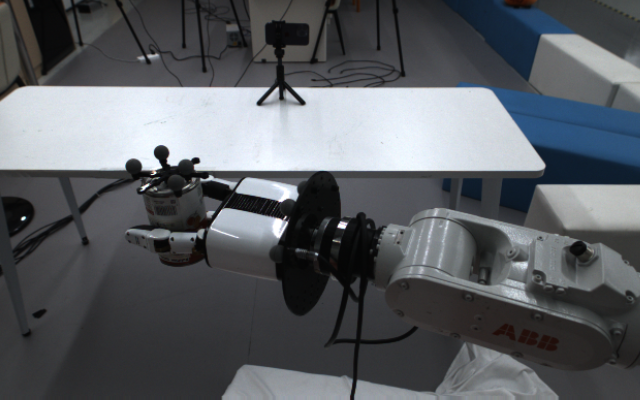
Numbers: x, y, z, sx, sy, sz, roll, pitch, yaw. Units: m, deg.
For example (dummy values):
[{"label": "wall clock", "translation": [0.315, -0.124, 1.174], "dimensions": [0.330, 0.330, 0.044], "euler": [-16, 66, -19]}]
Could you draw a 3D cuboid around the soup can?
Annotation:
[{"label": "soup can", "translation": [-0.167, 0.020, 0.577], "dimensions": [0.067, 0.101, 0.067], "euler": [-1, 32, 1]}]
